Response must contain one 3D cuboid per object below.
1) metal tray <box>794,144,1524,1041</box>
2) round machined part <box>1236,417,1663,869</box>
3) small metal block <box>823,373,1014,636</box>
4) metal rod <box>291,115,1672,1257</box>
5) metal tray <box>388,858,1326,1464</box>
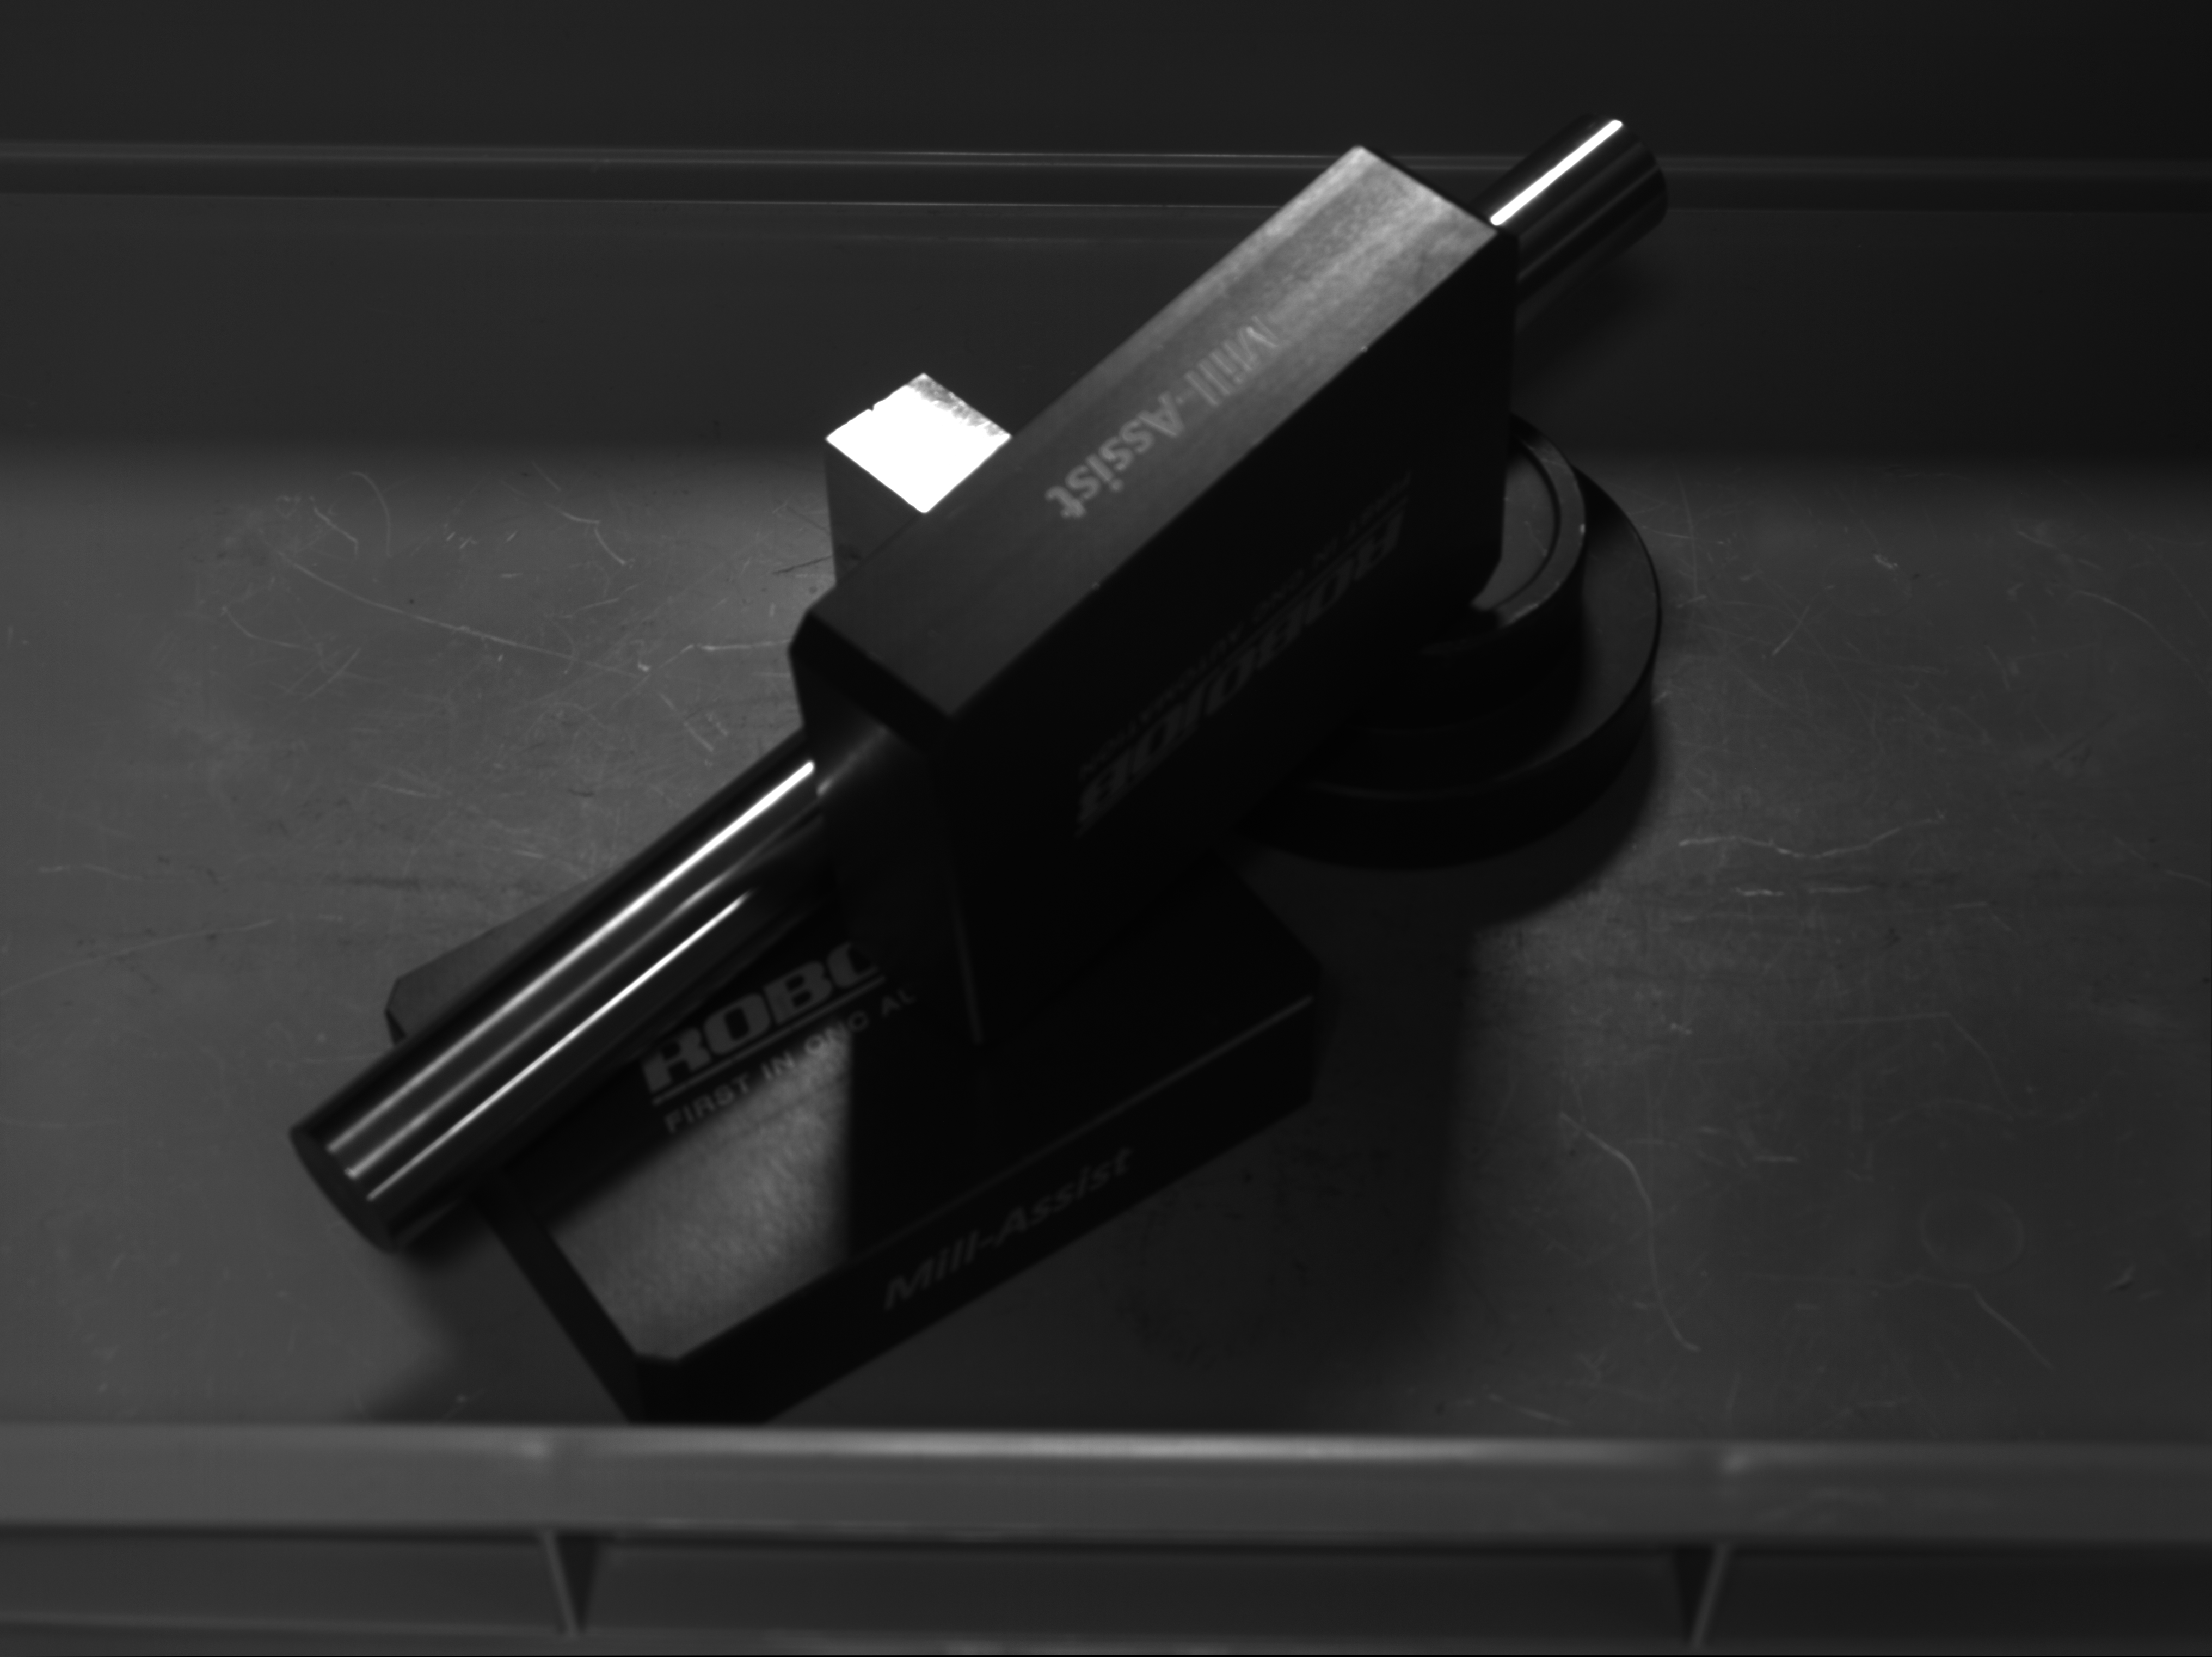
[{"bbox_3d":[0.012,-0.037,0.579,0.030,0.090,0.130,37,65,24],"label":"metal tray"},{"bbox_3d":[0.052,-0.043,0.666,0.098,0.042,0.098,0,50,0],"label":"round machined part"},{"bbox_3d":[-0.024,-0.046,0.663,0.025,0.050,0.050,-37,59,-27],"label":"small metal block"},{"bbox_3d":[-0.010,-0.033,0.617,0.025,0.025,0.300,37,63,27],"label":"metal rod"},{"bbox_3d":[-0.040,0.036,0.607,0.130,0.030,0.090,-28,55,-22],"label":"metal tray"}]
